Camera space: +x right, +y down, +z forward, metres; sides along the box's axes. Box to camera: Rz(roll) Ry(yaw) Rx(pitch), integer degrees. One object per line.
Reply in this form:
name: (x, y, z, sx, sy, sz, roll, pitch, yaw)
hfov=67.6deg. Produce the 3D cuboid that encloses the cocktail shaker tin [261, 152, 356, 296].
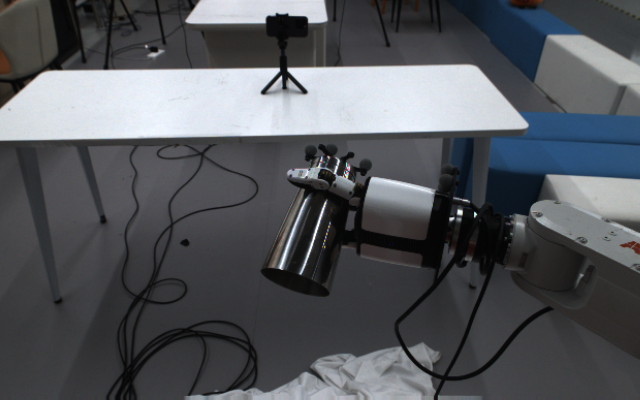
cocktail shaker tin: (-0.003, 0.027, 0.635, 0.093, 0.093, 0.170, 12, 65, 14)
